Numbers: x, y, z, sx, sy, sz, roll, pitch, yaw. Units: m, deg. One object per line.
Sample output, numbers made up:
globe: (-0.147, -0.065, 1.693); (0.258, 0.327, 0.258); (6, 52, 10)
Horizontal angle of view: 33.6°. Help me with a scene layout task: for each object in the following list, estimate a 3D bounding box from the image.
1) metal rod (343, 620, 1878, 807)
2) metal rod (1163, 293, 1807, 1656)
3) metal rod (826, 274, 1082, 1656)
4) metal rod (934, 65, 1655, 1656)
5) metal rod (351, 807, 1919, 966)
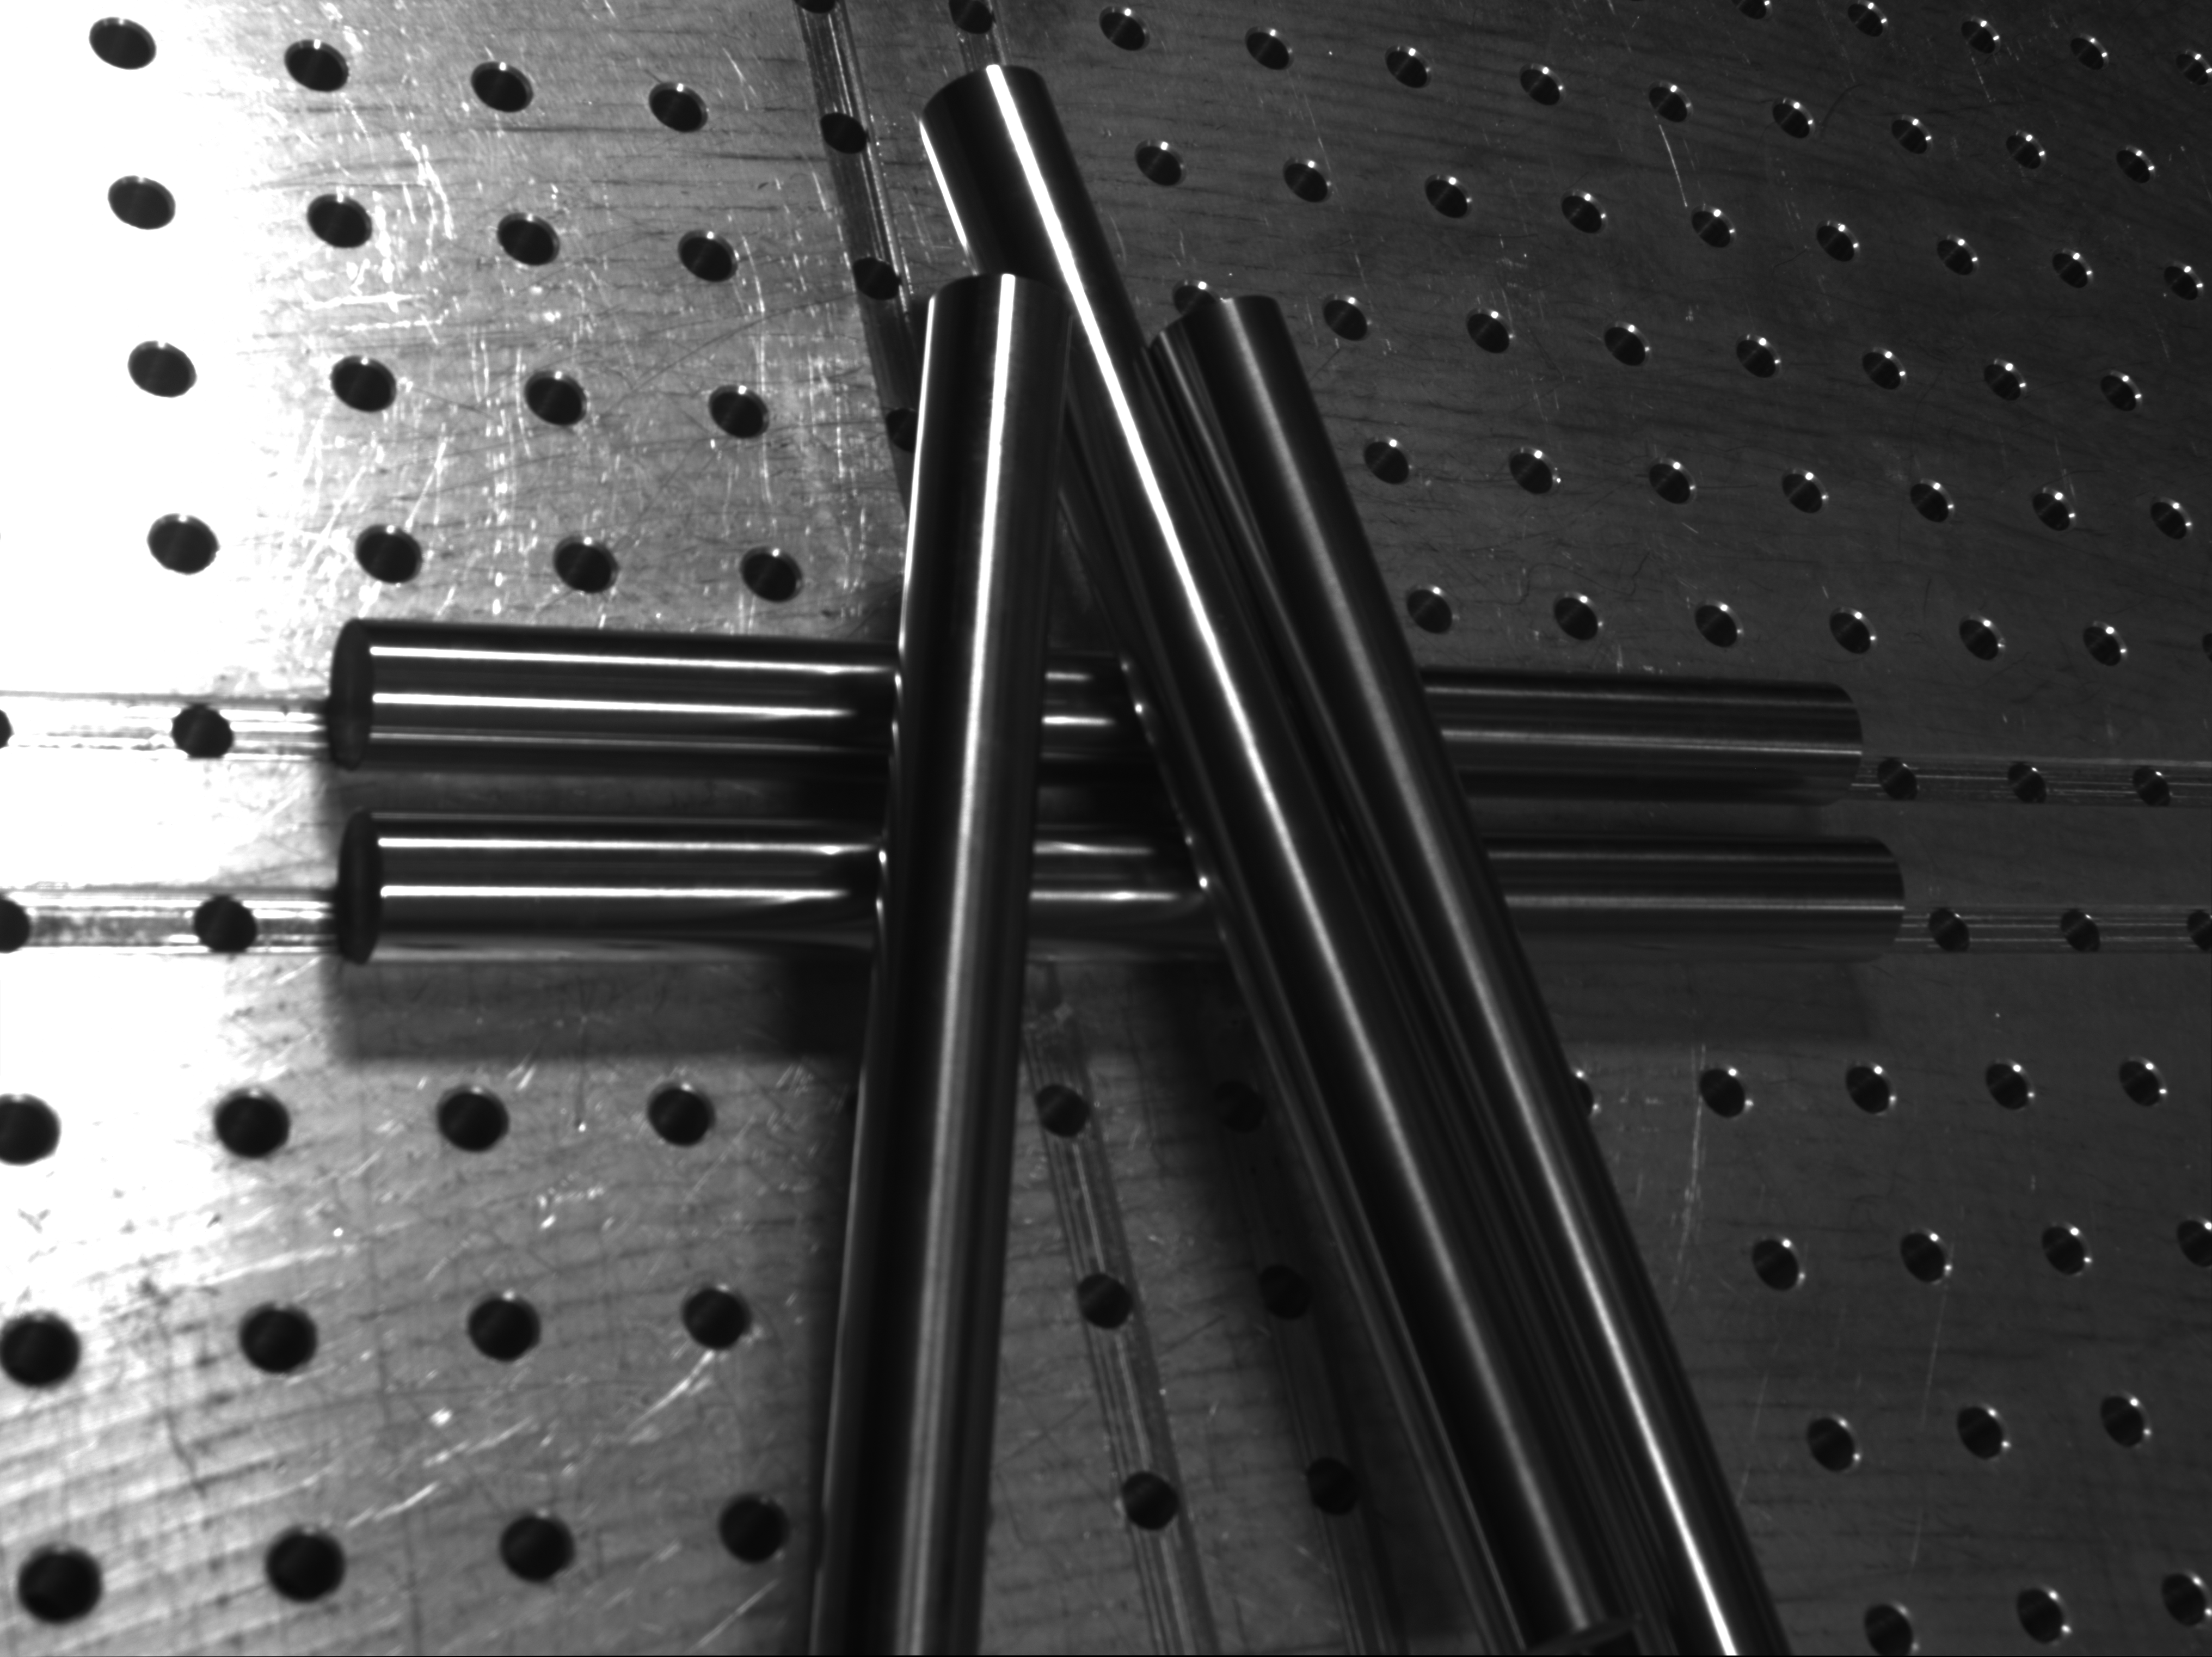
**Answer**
metal rod: (0.013, -0.019, 0.662); (0.301, 0.025, 0.025); (1, 61, -28)
metal rod: (0.071, 0.047, 0.628); (0.025, 0.025, 0.300); (-11, 74, -33)
metal rod: (-0.024, 0.045, 0.578); (0.025, 0.025, 0.300); (13, 63, -21)
metal rod: (0.027, -0.003, 0.628); (0.025, 0.025, 0.300); (-6, 65, -31)
metal rod: (0.018, 0.011, 0.646); (0.301, 0.025, 0.025); (1, 61, -28)
